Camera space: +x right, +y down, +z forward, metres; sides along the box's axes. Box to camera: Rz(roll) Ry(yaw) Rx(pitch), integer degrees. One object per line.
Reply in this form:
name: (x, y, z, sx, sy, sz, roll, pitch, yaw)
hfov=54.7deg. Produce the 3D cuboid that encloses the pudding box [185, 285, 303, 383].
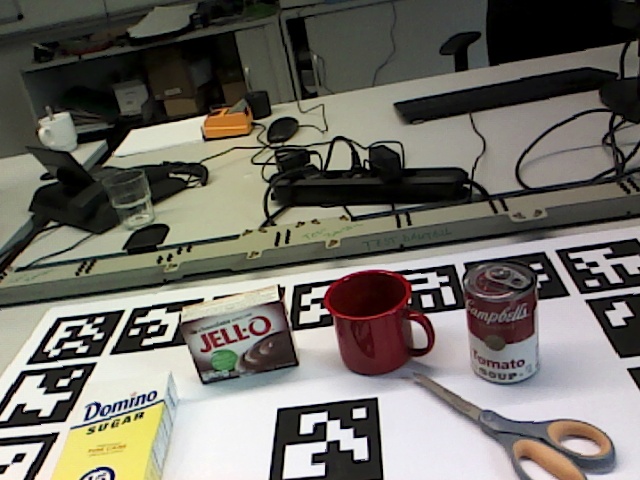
pudding box: (-0.082, 0.102, 0.676, 0.114, 0.089, 0.039, -13, 36, -1)

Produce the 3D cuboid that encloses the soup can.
soup can: (0.178, 0.089, 0.610, 0.068, 0.101, 0.068, -10, 28, 5)

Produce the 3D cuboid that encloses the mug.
mug: (0.066, 0.087, 0.661, 0.093, 0.081, 0.118, -29, 32, -22)

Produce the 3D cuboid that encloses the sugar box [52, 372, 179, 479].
sugar box: (-0.199, 0.209, 0.597, 0.093, 0.045, 0.177, -11, 31, 6)

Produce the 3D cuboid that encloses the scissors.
scissors: (0.158, 0.170, 0.547, 0.087, 0.016, 0.204, -39, 39, -23)
